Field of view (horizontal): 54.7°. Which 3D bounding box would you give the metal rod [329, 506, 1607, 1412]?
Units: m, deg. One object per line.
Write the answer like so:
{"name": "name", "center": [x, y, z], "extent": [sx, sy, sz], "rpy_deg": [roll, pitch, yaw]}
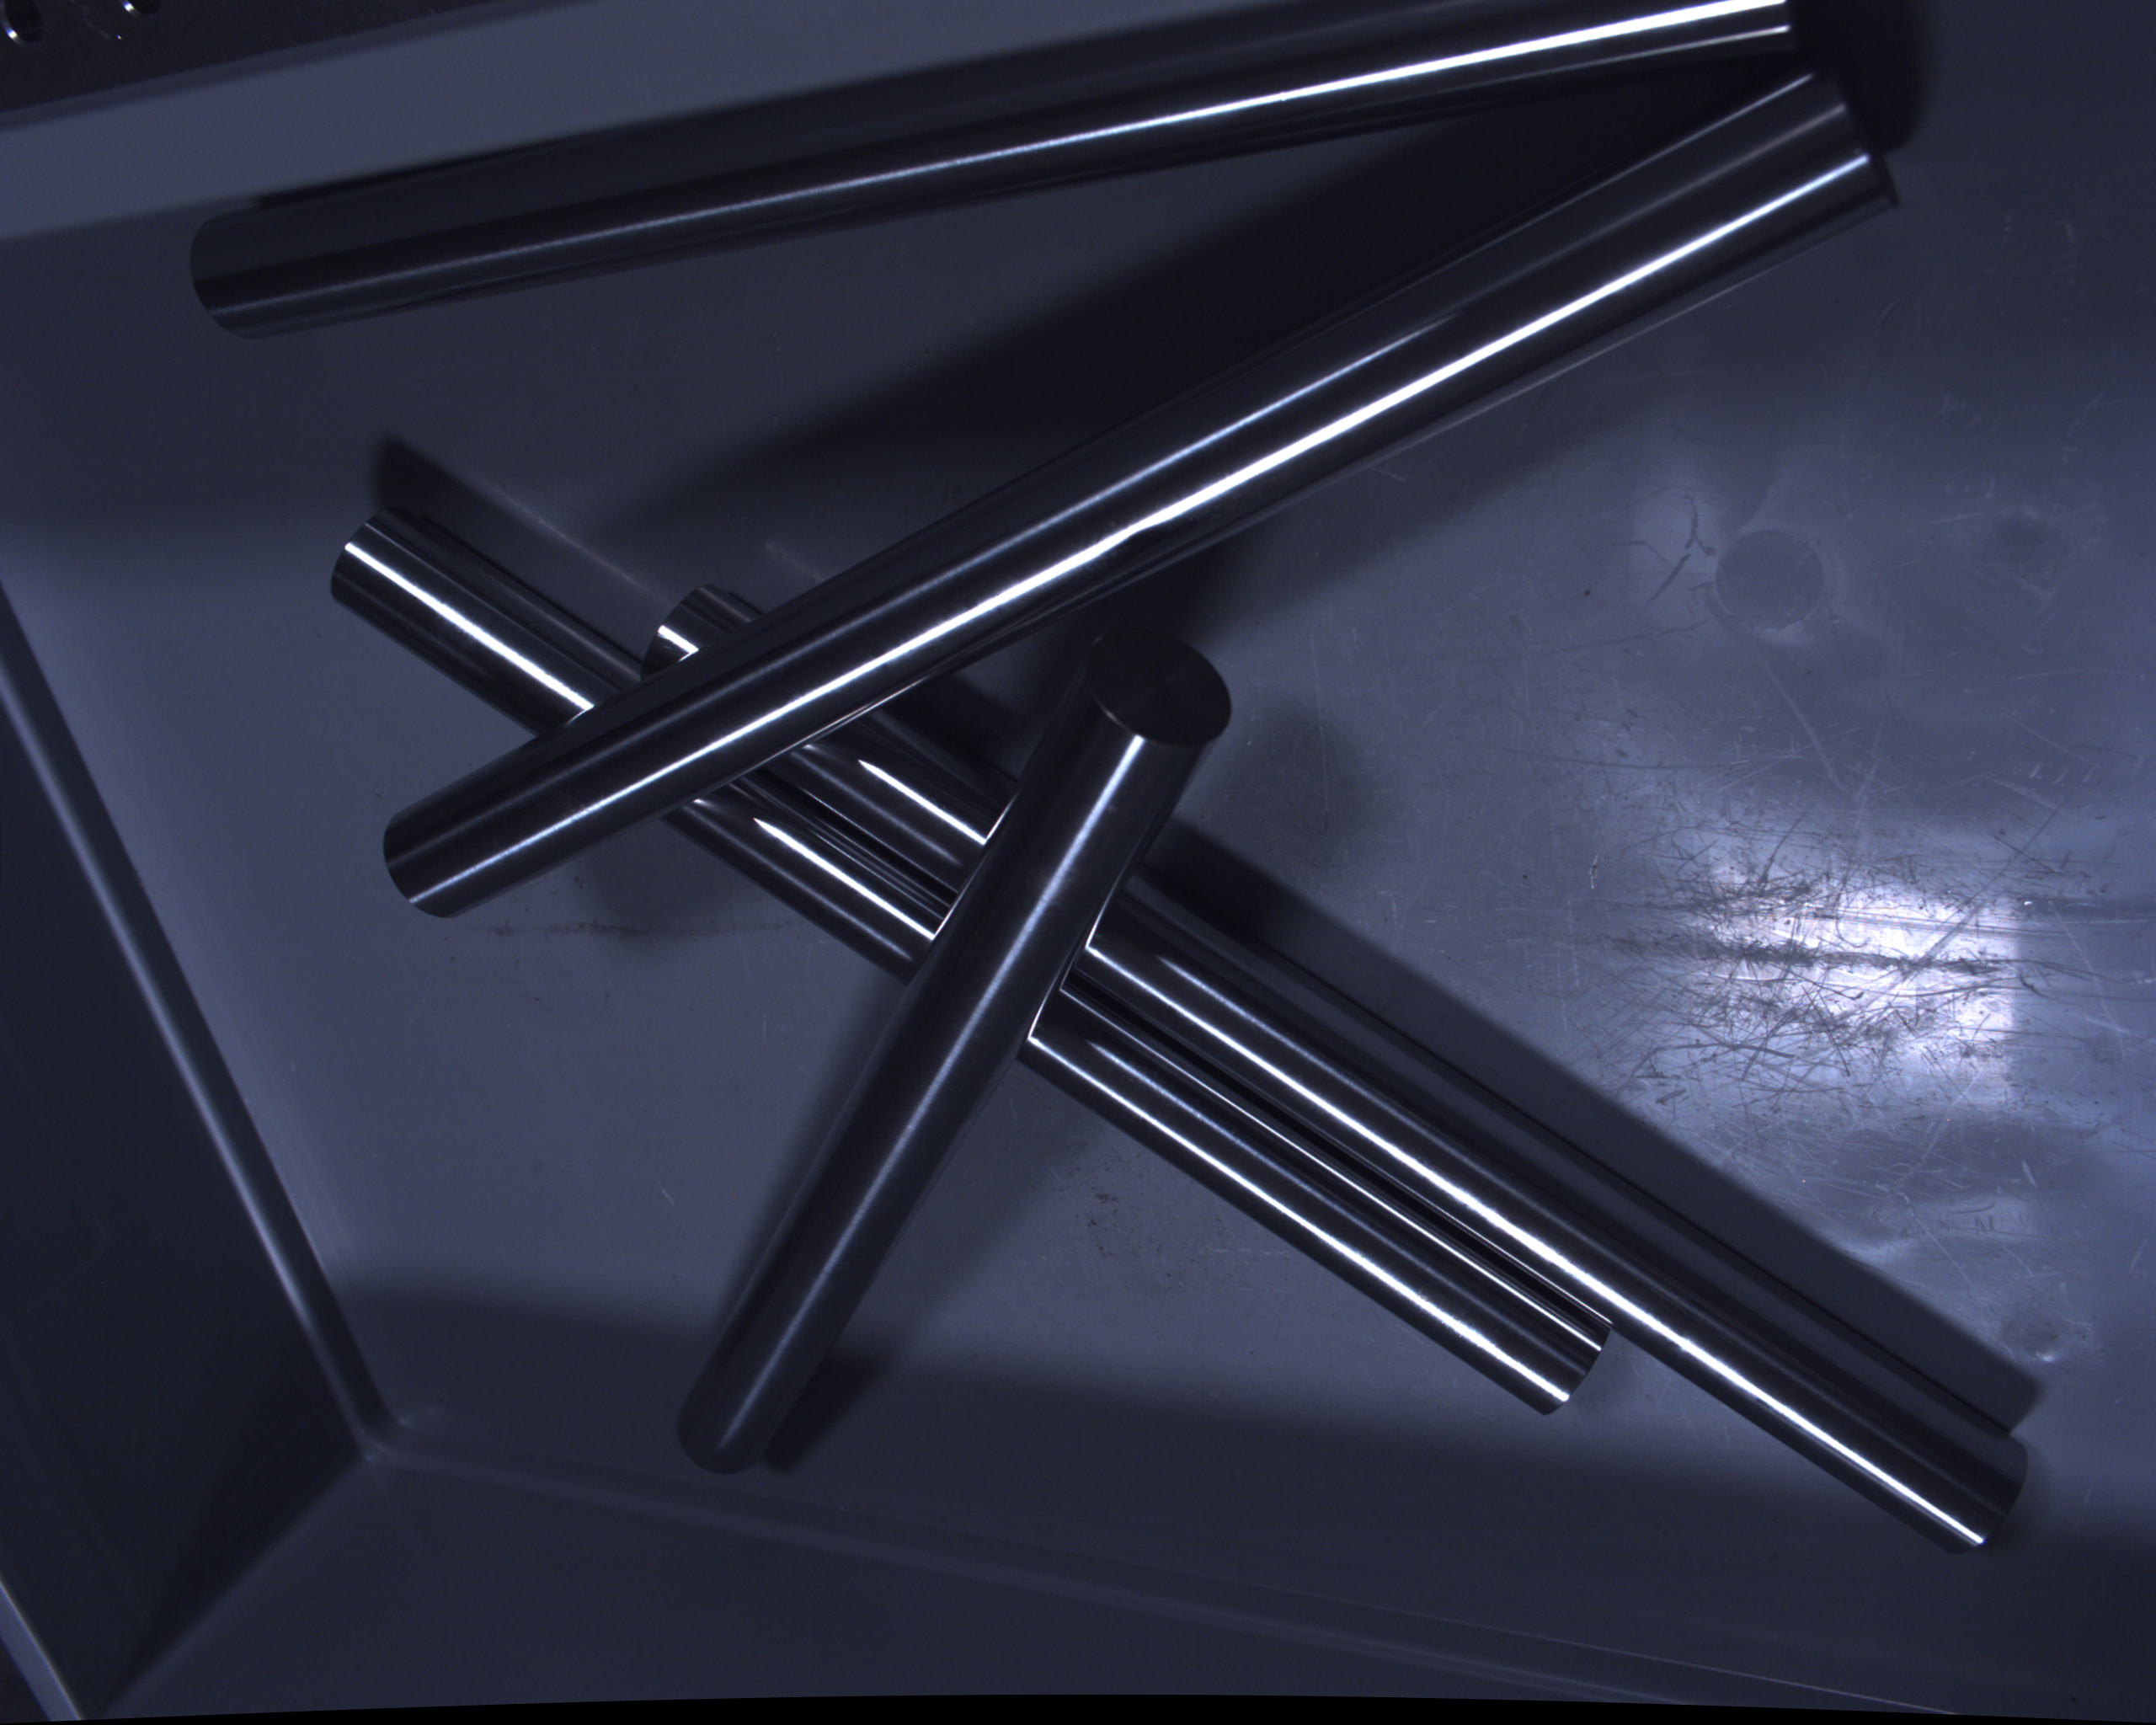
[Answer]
{"name": "metal rod", "center": [-0.026, 0.017, 0.430], "extent": [0.301, 0.025, 0.025], "rpy_deg": [33, 129, 5]}

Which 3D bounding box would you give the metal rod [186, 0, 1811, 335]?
{"name": "metal rod", "center": [-0.036, -0.121, 0.351], "extent": [0.300, 0.025, 0.025], "rpy_deg": [-1, 118, 28]}

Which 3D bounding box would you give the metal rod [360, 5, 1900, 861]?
{"name": "metal rod", "center": [-0.015, -0.059, 0.358], "extent": [0.300, 0.025, 0.025], "rpy_deg": [-21, 108, 29]}

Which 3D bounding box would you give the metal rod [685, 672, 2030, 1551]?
{"name": "metal rod", "center": [0.045, 0.036, 0.405], "extent": [0.301, 0.025, 0.025], "rpy_deg": [33, 129, 5]}

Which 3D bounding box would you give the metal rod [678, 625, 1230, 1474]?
{"name": "metal rod", "center": [-0.040, 0.060, 0.438], "extent": [0.025, 0.025, 0.298], "rpy_deg": [35, 137, 4]}
